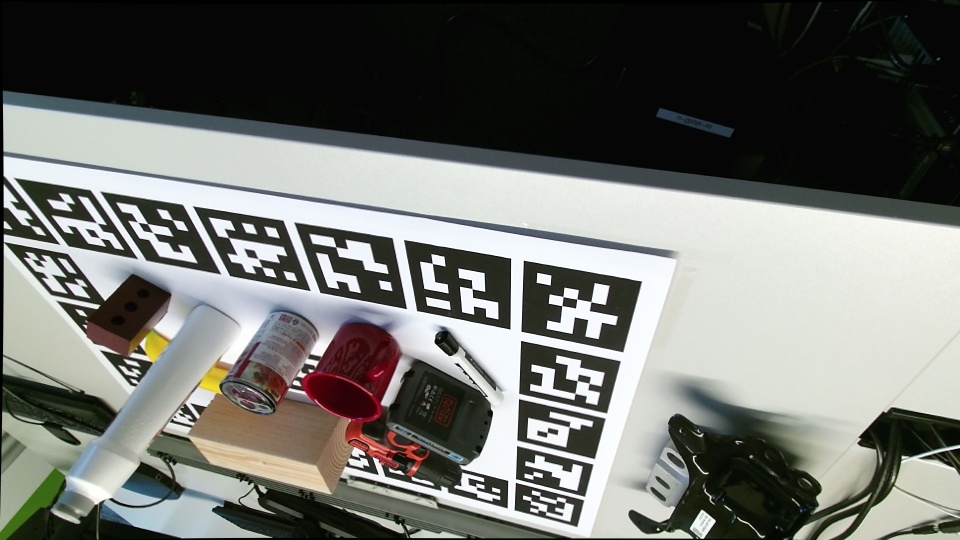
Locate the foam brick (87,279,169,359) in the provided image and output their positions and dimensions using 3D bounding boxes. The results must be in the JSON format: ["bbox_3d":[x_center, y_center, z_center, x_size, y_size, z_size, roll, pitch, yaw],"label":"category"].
[{"bbox_3d":[-0.434,0.061,0.662,0.053,0.078,0.051,31,137,-13],"label":"foam brick"}]

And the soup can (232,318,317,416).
[{"bbox_3d":[-0.241,0.114,0.615,0.068,0.101,0.068,12,139,11],"label":"soup can"}]

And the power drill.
[{"bbox_3d":[-0.076,0.218,0.702,0.185,0.057,0.187,31,136,-6],"label":"power drill"}]

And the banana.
[{"bbox_3d":[-0.381,0.166,0.765,0.198,0.039,0.074,21,122,3],"label":"banana"}]

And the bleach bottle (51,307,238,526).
[{"bbox_3d":[-0.378,0.164,0.615,0.068,0.250,0.103,29,136,-9],"label":"bleach bottle"}]

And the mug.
[{"bbox_3d":[-0.132,0.116,0.599,0.093,0.081,0.117,41,129,-17],"label":"mug"}]

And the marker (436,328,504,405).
[{"bbox_3d":[-0.011,0.108,0.597,0.020,0.019,0.121,-18,123,30],"label":"marker"}]

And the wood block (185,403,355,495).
[{"bbox_3d":[-0.305,0.257,0.794,0.207,0.090,0.090,8,133,13],"label":"wood block"}]
